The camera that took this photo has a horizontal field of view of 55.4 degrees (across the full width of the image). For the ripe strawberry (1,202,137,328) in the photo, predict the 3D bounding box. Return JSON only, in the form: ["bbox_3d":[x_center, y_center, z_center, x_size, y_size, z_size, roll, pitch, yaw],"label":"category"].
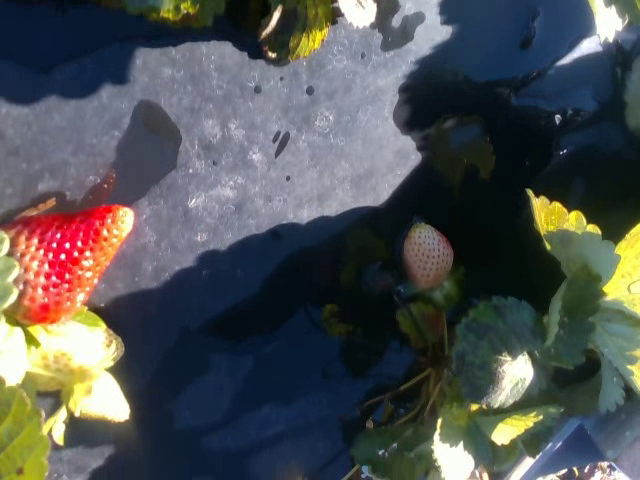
[{"bbox_3d":[-0.094,0.003,0.223,0.064,0.052,0.049,-38,-19,3],"label":"ripe strawberry"}]
